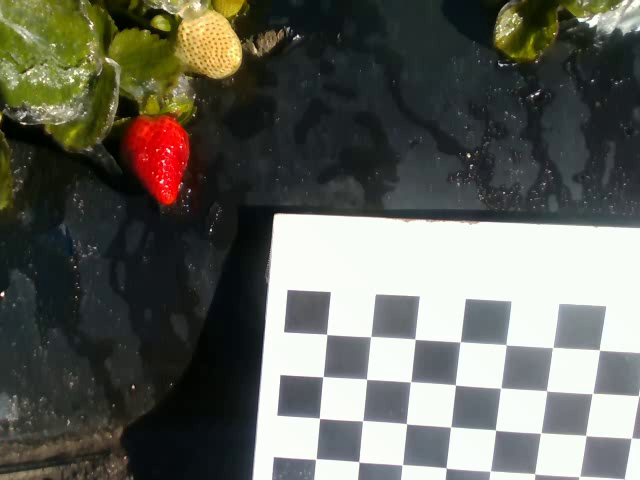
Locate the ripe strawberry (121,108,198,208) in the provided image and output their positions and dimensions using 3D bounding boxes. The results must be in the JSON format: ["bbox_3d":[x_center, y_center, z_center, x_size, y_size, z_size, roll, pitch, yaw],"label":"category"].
[{"bbox_3d":[-0.091,-0.044,0.425,0.041,0.052,0.040,-14,-9,8],"label":"ripe strawberry"}]
